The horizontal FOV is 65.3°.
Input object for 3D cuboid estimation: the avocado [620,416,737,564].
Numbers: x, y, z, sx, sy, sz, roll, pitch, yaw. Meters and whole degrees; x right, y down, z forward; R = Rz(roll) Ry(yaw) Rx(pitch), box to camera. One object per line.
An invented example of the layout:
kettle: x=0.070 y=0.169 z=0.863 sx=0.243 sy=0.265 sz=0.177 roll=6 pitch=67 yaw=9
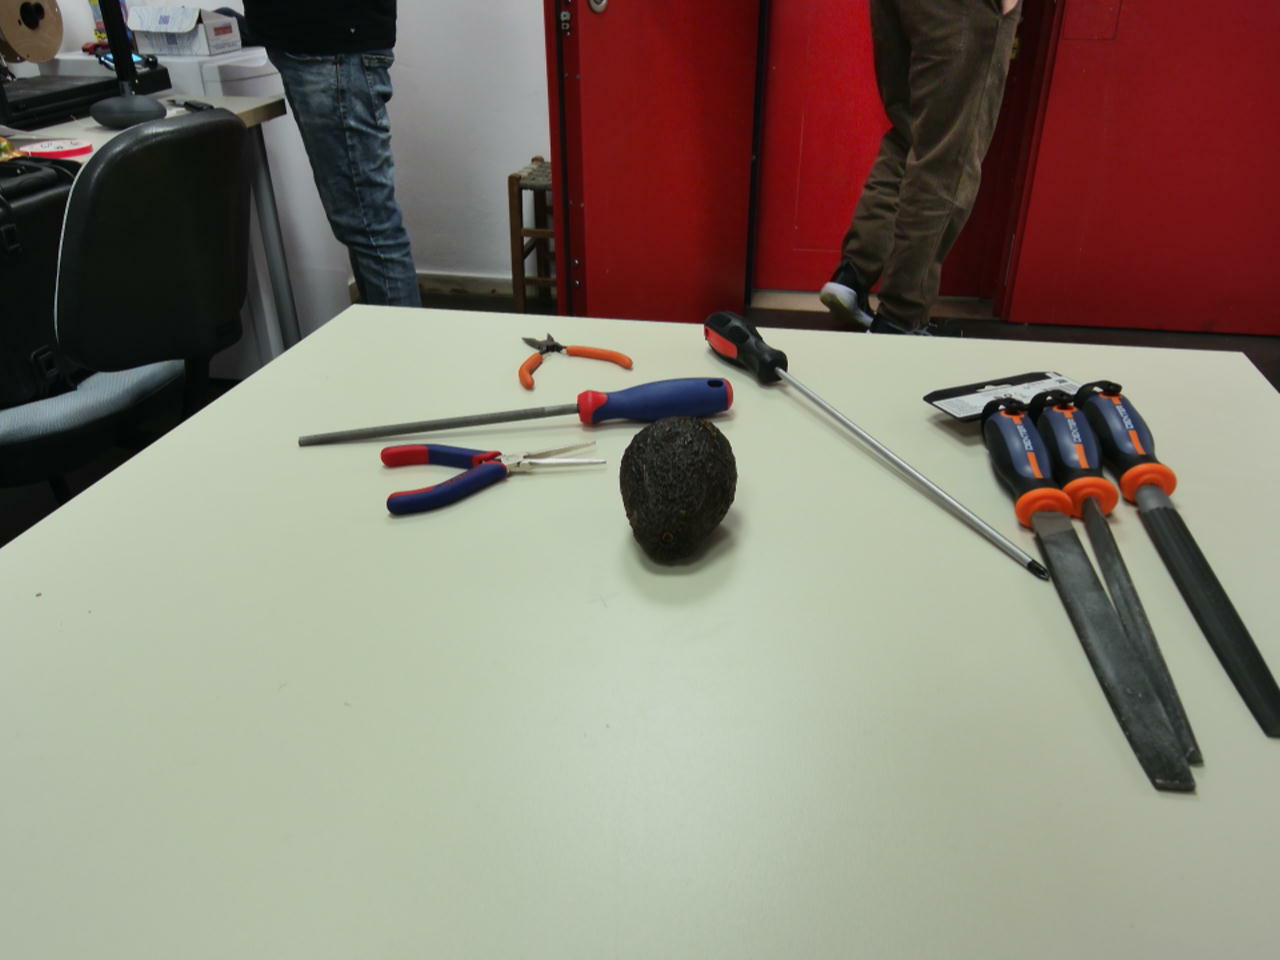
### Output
avocado: x=0.019 y=0.001 z=0.585 sx=0.070 sy=0.069 sz=0.090 roll=16 pitch=32 yaw=33
